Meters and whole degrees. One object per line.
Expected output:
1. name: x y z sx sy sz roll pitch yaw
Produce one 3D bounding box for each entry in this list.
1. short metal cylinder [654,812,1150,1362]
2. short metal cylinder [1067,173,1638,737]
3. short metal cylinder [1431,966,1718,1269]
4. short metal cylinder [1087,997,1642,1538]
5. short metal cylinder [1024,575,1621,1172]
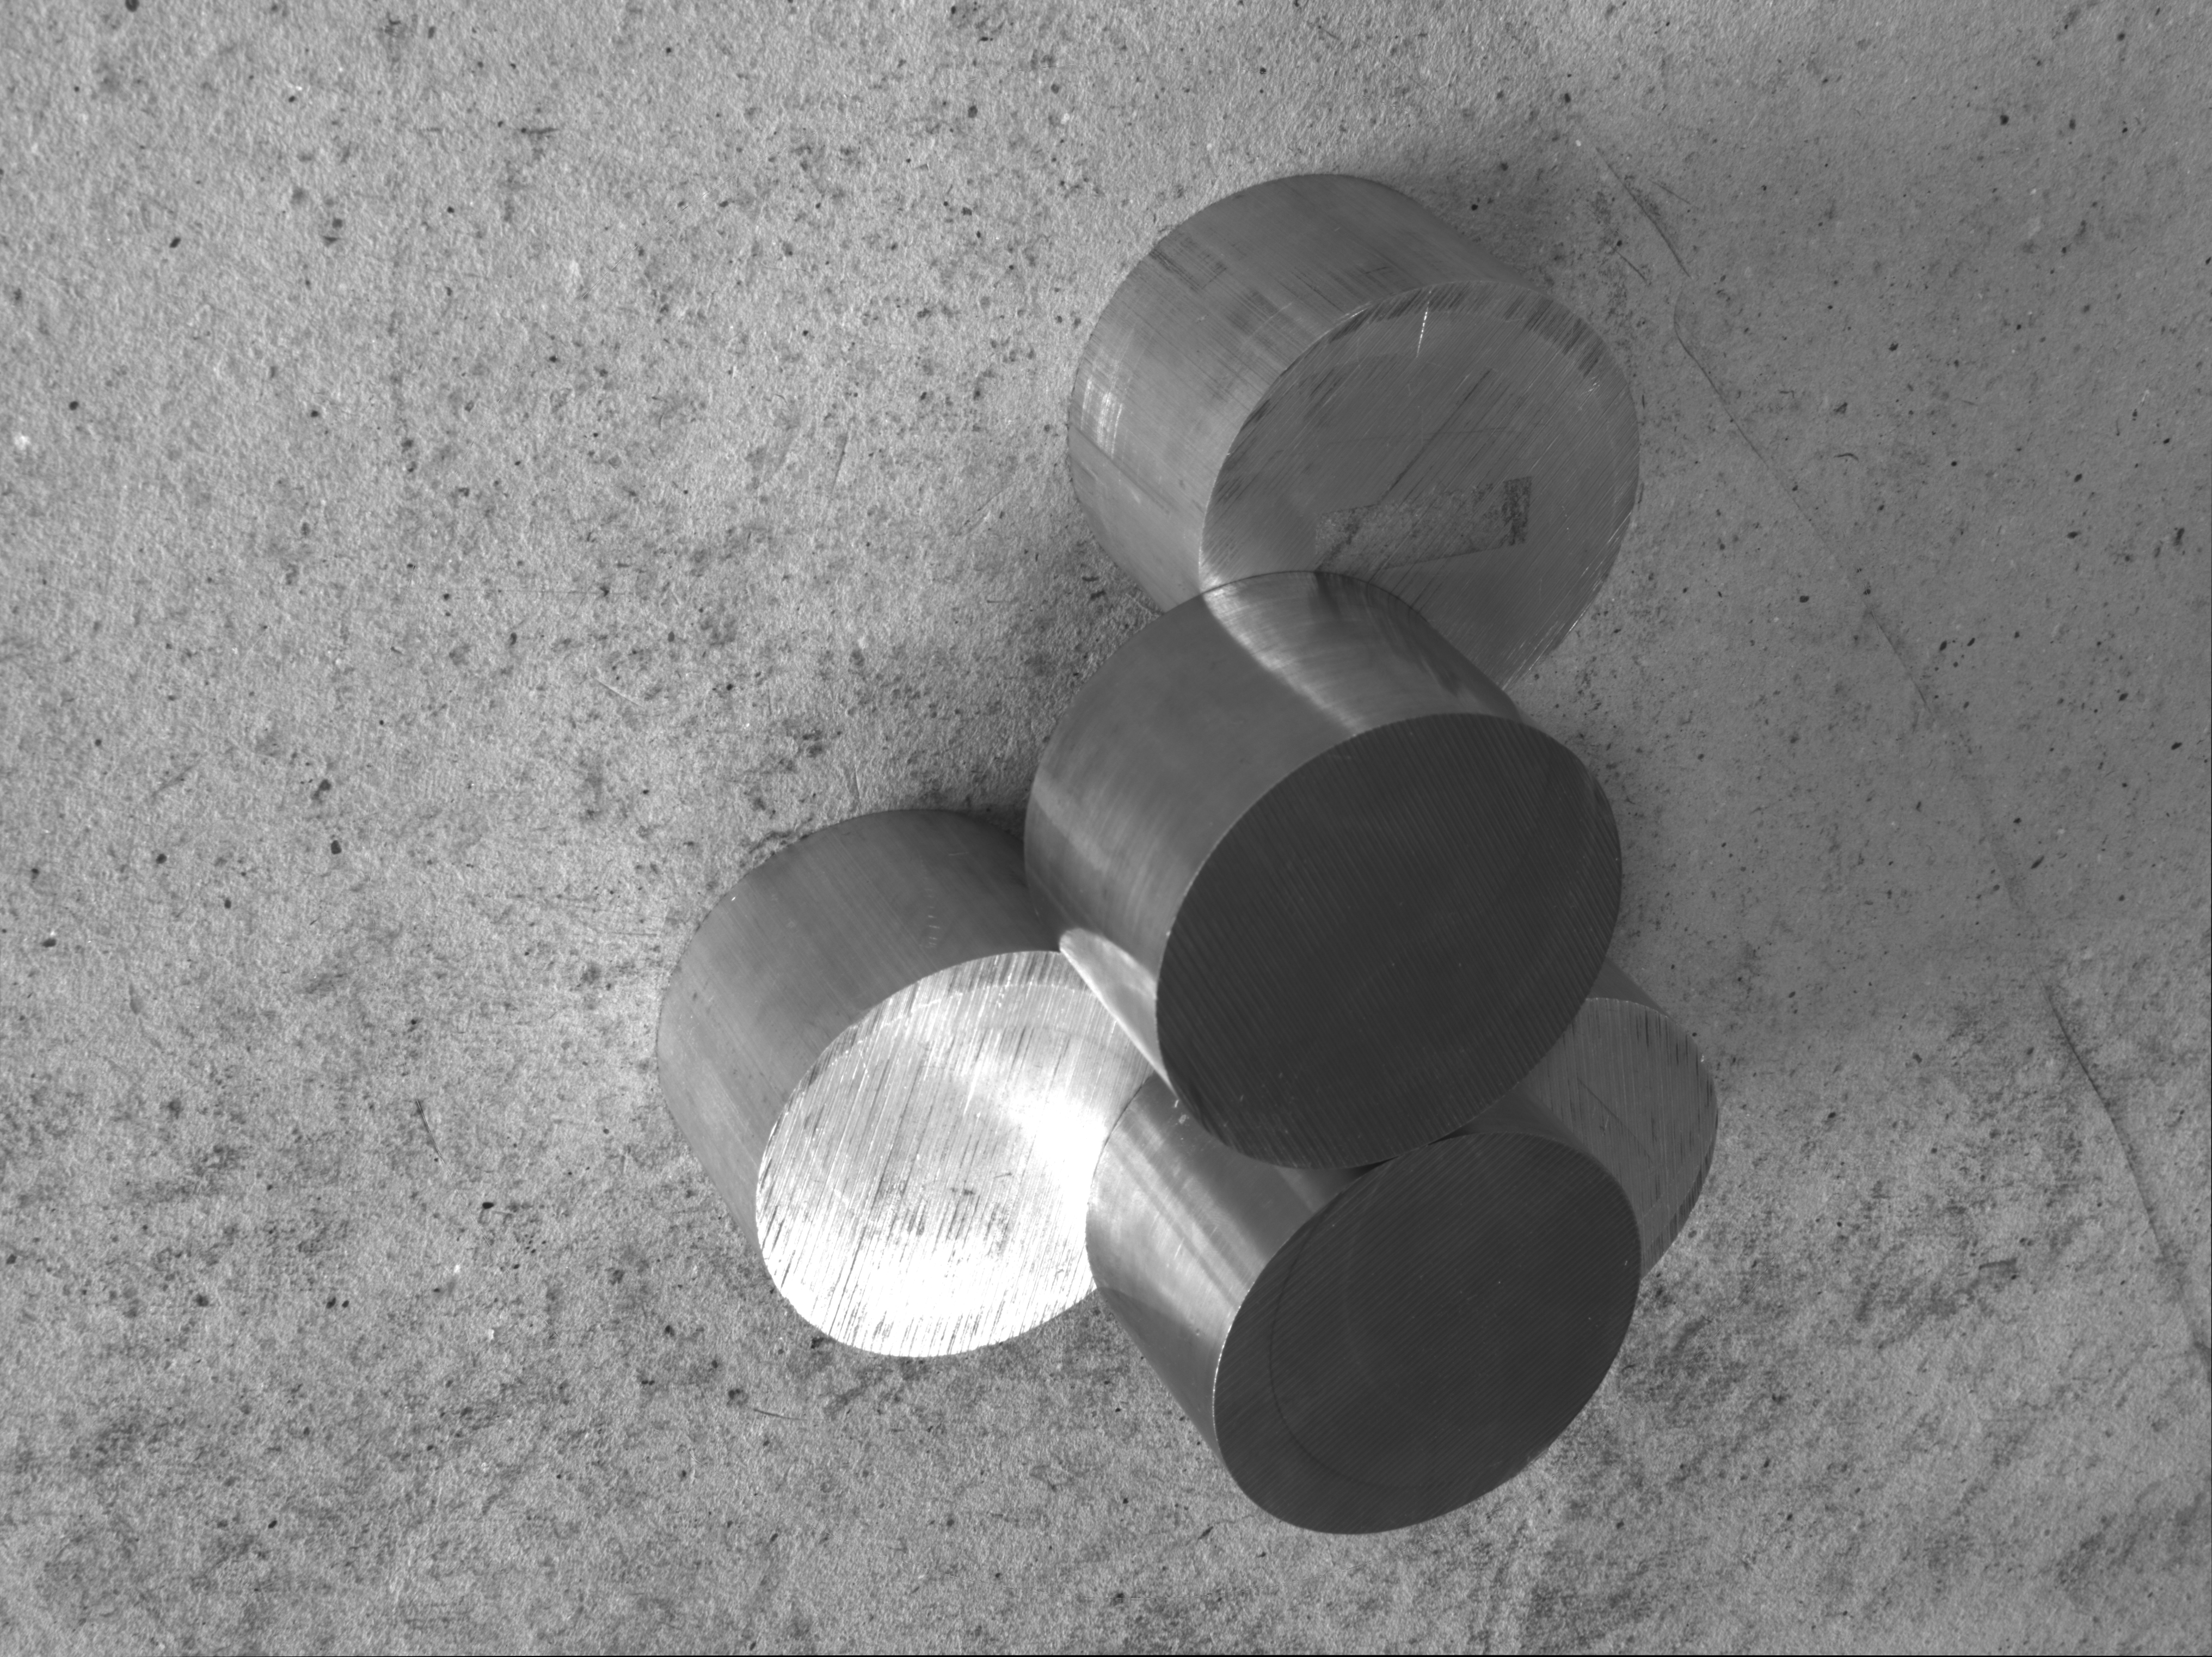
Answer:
1. short metal cylinder: -0.032 0.044 0.631 0.080 0.050 0.080 -14 124 -21
2. short metal cylinder: 0.040 -0.062 0.606 0.080 0.050 0.080 -14 124 -21
3. short metal cylinder: 0.067 0.054 0.690 0.080 0.050 0.080 -14 124 -21
4. short metal cylinder: 0.044 0.073 0.623 0.080 0.050 0.080 -14 124 -21
5. short metal cylinder: 0.034 0.007 0.578 0.080 0.050 0.080 -13 123 -21
